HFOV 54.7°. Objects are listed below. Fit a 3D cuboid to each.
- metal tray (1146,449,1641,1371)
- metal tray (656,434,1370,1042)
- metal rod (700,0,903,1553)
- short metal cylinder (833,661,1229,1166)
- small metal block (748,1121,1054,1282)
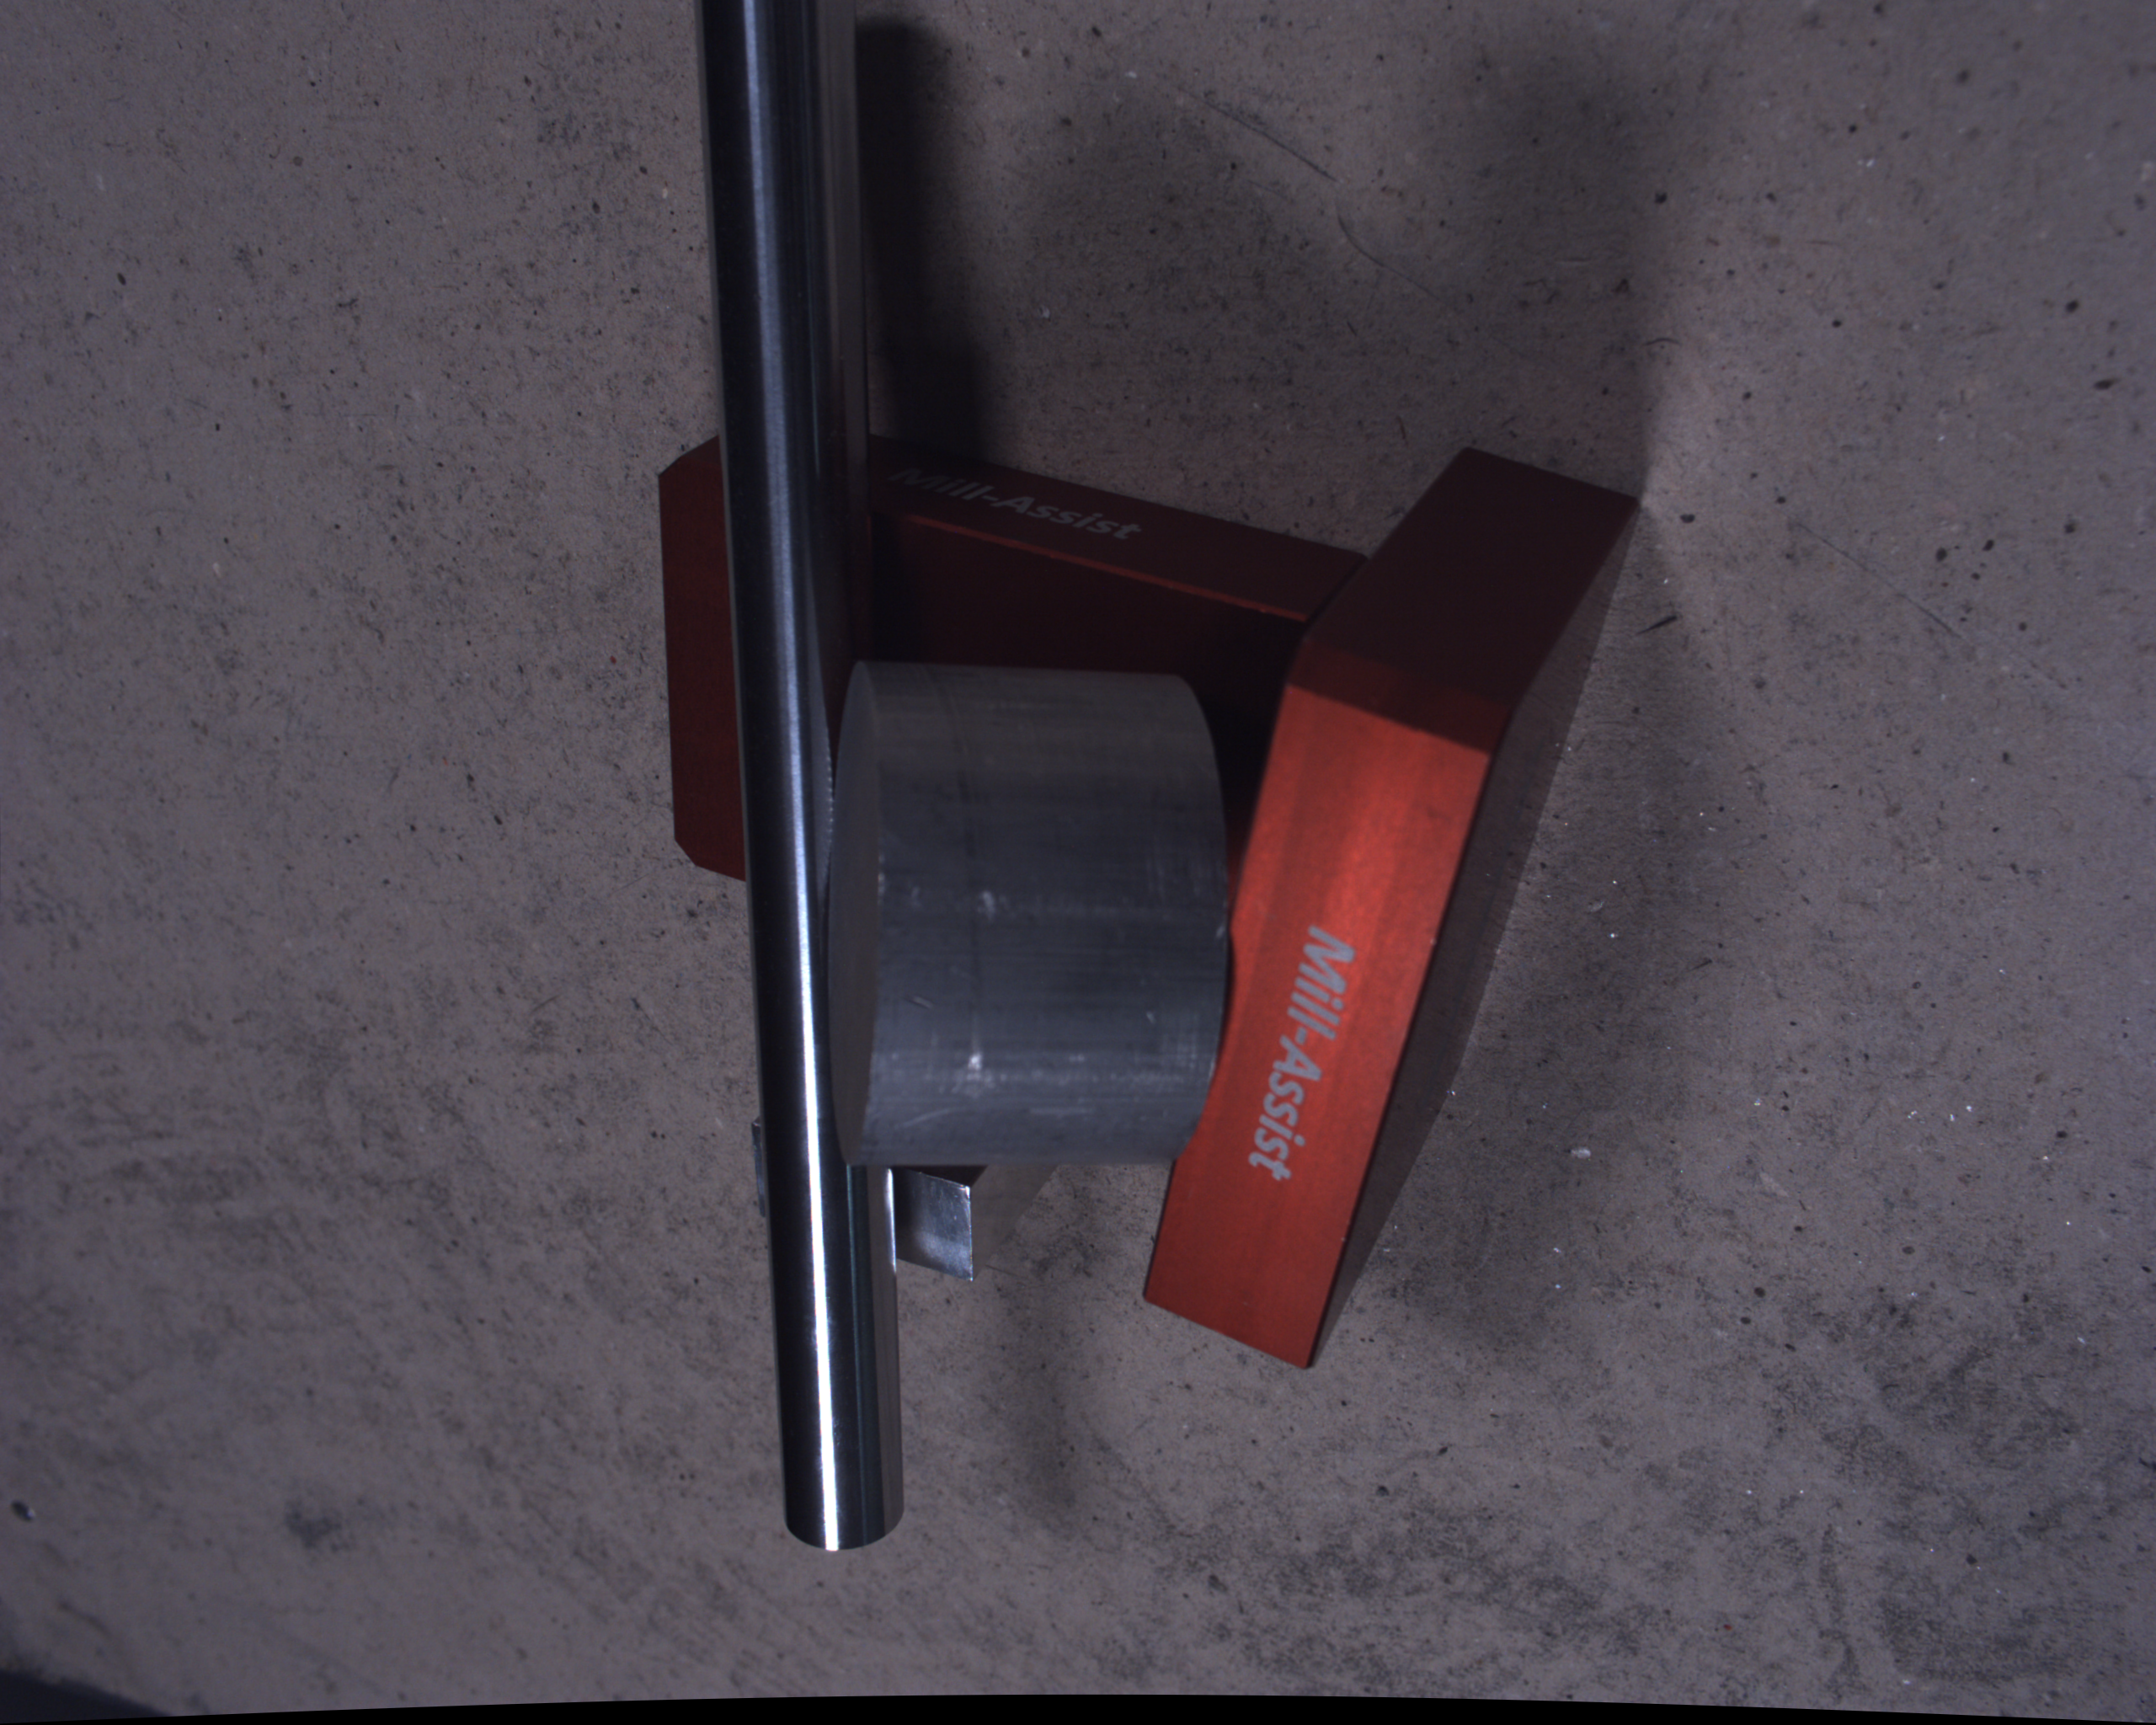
[{"bbox_3d":[0.051,0.008,0.343,0.030,0.090,0.129,21,126,16],"label":"metal tray"},{"bbox_3d":[-0.015,-0.027,0.394,0.130,0.030,0.089,17,125,18],"label":"metal tray"},{"bbox_3d":[-0.048,-0.002,0.380,0.025,0.025,0.298,10,114,22],"label":"metal rod"},{"bbox_3d":[-0.011,0.009,0.335,0.050,0.080,0.079,2,126,-12],"label":"short metal cylinder"},{"bbox_3d":[-0.034,0.057,0.444,0.050,0.050,0.025,12,123,21],"label":"small metal block"}]
